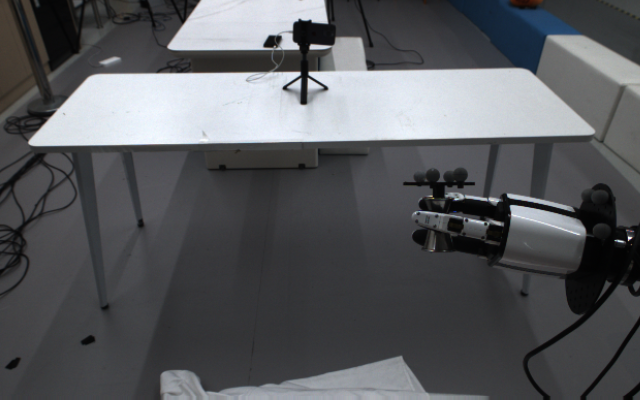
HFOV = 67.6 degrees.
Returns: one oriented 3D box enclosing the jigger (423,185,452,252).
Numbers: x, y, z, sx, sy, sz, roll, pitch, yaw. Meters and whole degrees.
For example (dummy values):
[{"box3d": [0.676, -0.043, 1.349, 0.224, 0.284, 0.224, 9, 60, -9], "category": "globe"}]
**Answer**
[{"box3d": [0.152, 0.029, 0.623, 0.043, 0.071, 0.043, -1, 2, 0], "category": "jigger"}]
